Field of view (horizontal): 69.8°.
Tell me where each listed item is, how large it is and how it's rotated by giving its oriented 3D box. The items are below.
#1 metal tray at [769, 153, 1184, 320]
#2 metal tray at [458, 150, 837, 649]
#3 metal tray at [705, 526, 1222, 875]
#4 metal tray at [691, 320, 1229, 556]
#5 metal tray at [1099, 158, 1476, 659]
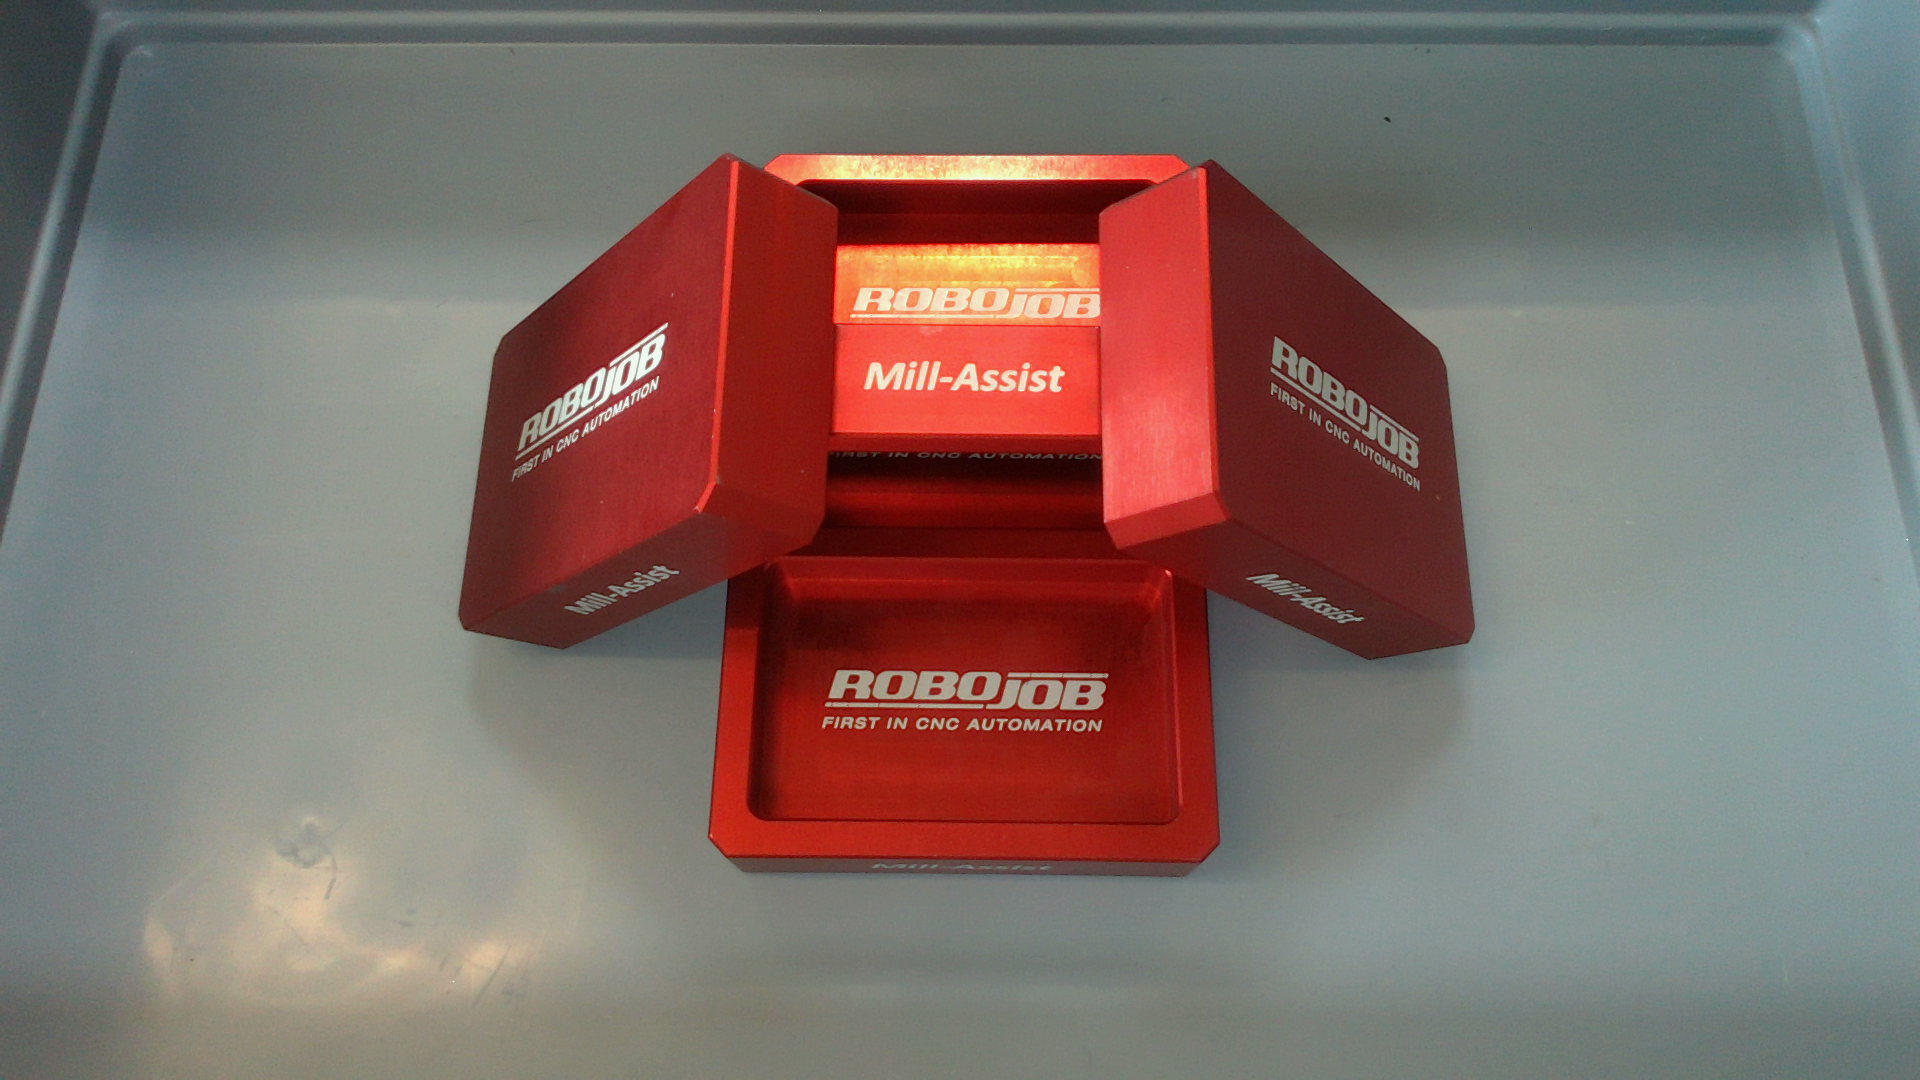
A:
[{"bbox_3d":[0.005,-0.070,0.416,0.130,0.030,0.090,0,70,-1],"label":"metal tray"},{"bbox_3d":[-0.084,-0.030,0.355,0.030,0.129,0.090,18,64,-38],"label":"metal tray"},{"bbox_3d":[0.001,0.044,0.373,0.130,0.030,0.090,1,70,-1],"label":"metal tray"},{"bbox_3d":[0.000,-0.023,0.367,0.130,0.090,0.030,1,70,-1],"label":"metal tray"},{"bbox_3d":[0.087,-0.028,0.355,0.030,0.131,0.090,-17,63,39],"label":"metal tray"}]
